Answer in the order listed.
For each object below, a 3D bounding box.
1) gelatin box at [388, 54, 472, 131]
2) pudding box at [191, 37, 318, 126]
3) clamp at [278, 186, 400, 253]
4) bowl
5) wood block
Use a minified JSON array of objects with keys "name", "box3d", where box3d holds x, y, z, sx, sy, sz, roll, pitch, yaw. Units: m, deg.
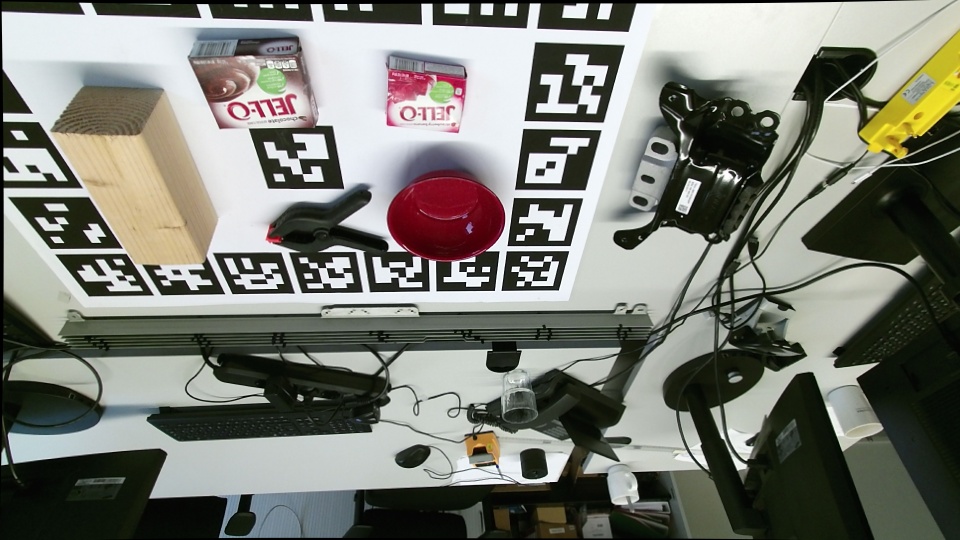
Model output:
[{"name":"gelatin box","box3d":[-0.060,-0.204,0.625,0.090,0.030,0.073,5,135,-11]},{"name":"pudding box","box3d":[-0.245,-0.210,0.598,0.114,0.038,0.090,-3,133,-6]},{"name":"clamp","box3d":[-0.209,-0.063,0.773,0.166,0.036,0.122,-6,138,4]},{"name":"bowl","box3d":[-0.045,-0.085,0.749,0.162,0.055,0.162,-2,135,-2]},{"name":"wood block","box3d":[-0.409,-0.110,0.652,0.090,0.090,0.206,2,137,-6]}]
